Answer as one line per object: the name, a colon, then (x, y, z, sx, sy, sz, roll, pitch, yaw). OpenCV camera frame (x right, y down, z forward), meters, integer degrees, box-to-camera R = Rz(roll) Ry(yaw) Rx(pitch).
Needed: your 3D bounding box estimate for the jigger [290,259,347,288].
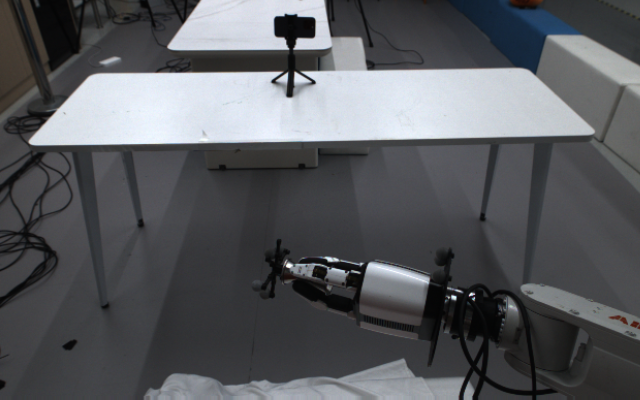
jigger: (-0.010, 0.103, 0.688, 0.071, 0.043, 0.043, 9, 35, 16)
